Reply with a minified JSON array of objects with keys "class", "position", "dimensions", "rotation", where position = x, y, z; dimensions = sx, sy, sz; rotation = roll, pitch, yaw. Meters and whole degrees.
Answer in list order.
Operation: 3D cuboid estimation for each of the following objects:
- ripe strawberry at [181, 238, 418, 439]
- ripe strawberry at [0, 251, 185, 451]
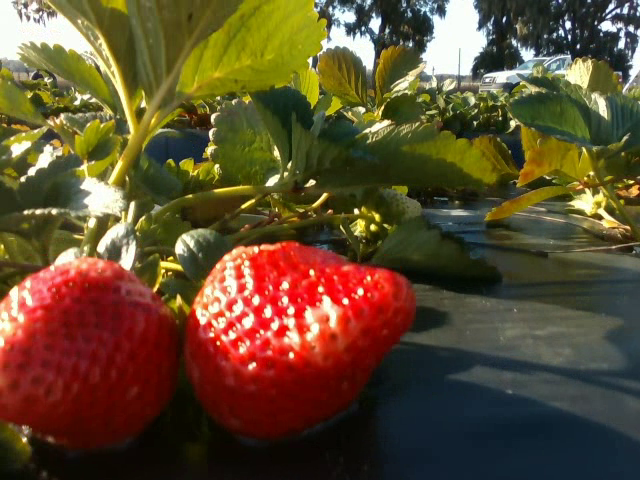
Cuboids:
[{"class":"ripe strawberry","position":[0.000,0.018,0.132],"dimensions":[0.067,0.051,0.056],"rotation":[-21,19,47]},{"class":"ripe strawberry","position":[-0.054,0.022,0.123],"dimensions":[0.051,0.043,0.061],"rotation":[20,2,3]}]
